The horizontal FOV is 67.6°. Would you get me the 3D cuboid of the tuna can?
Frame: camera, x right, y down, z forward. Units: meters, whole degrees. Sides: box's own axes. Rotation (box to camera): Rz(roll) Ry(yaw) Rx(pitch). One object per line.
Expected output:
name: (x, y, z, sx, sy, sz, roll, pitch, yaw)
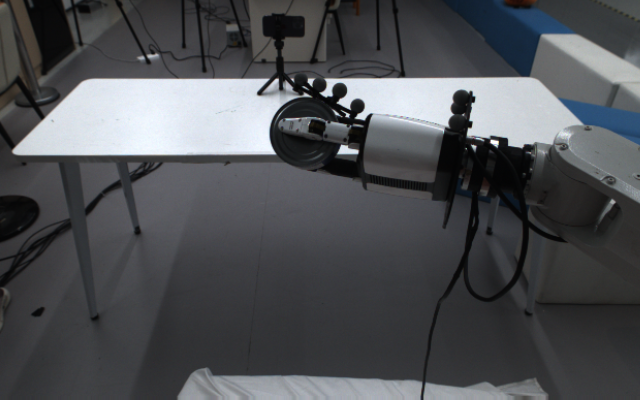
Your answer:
tuna can: (-0.015, -0.081, 0.596, 0.085, 0.085, 0.034, 9, -5, 10)
